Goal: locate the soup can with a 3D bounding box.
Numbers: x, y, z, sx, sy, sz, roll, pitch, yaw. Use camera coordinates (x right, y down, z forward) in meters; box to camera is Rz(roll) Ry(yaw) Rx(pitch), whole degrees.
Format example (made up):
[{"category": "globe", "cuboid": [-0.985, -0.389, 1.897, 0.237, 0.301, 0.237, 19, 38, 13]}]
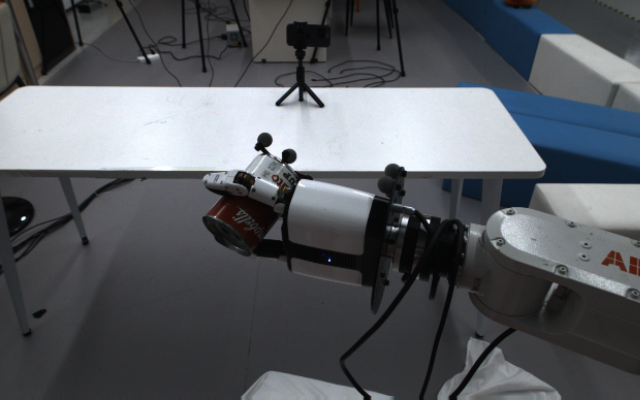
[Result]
[{"category": "soup can", "cuboid": [-0.075, 0.004, 0.552, 0.067, 0.067, 0.101, 23, 61, 27]}]
